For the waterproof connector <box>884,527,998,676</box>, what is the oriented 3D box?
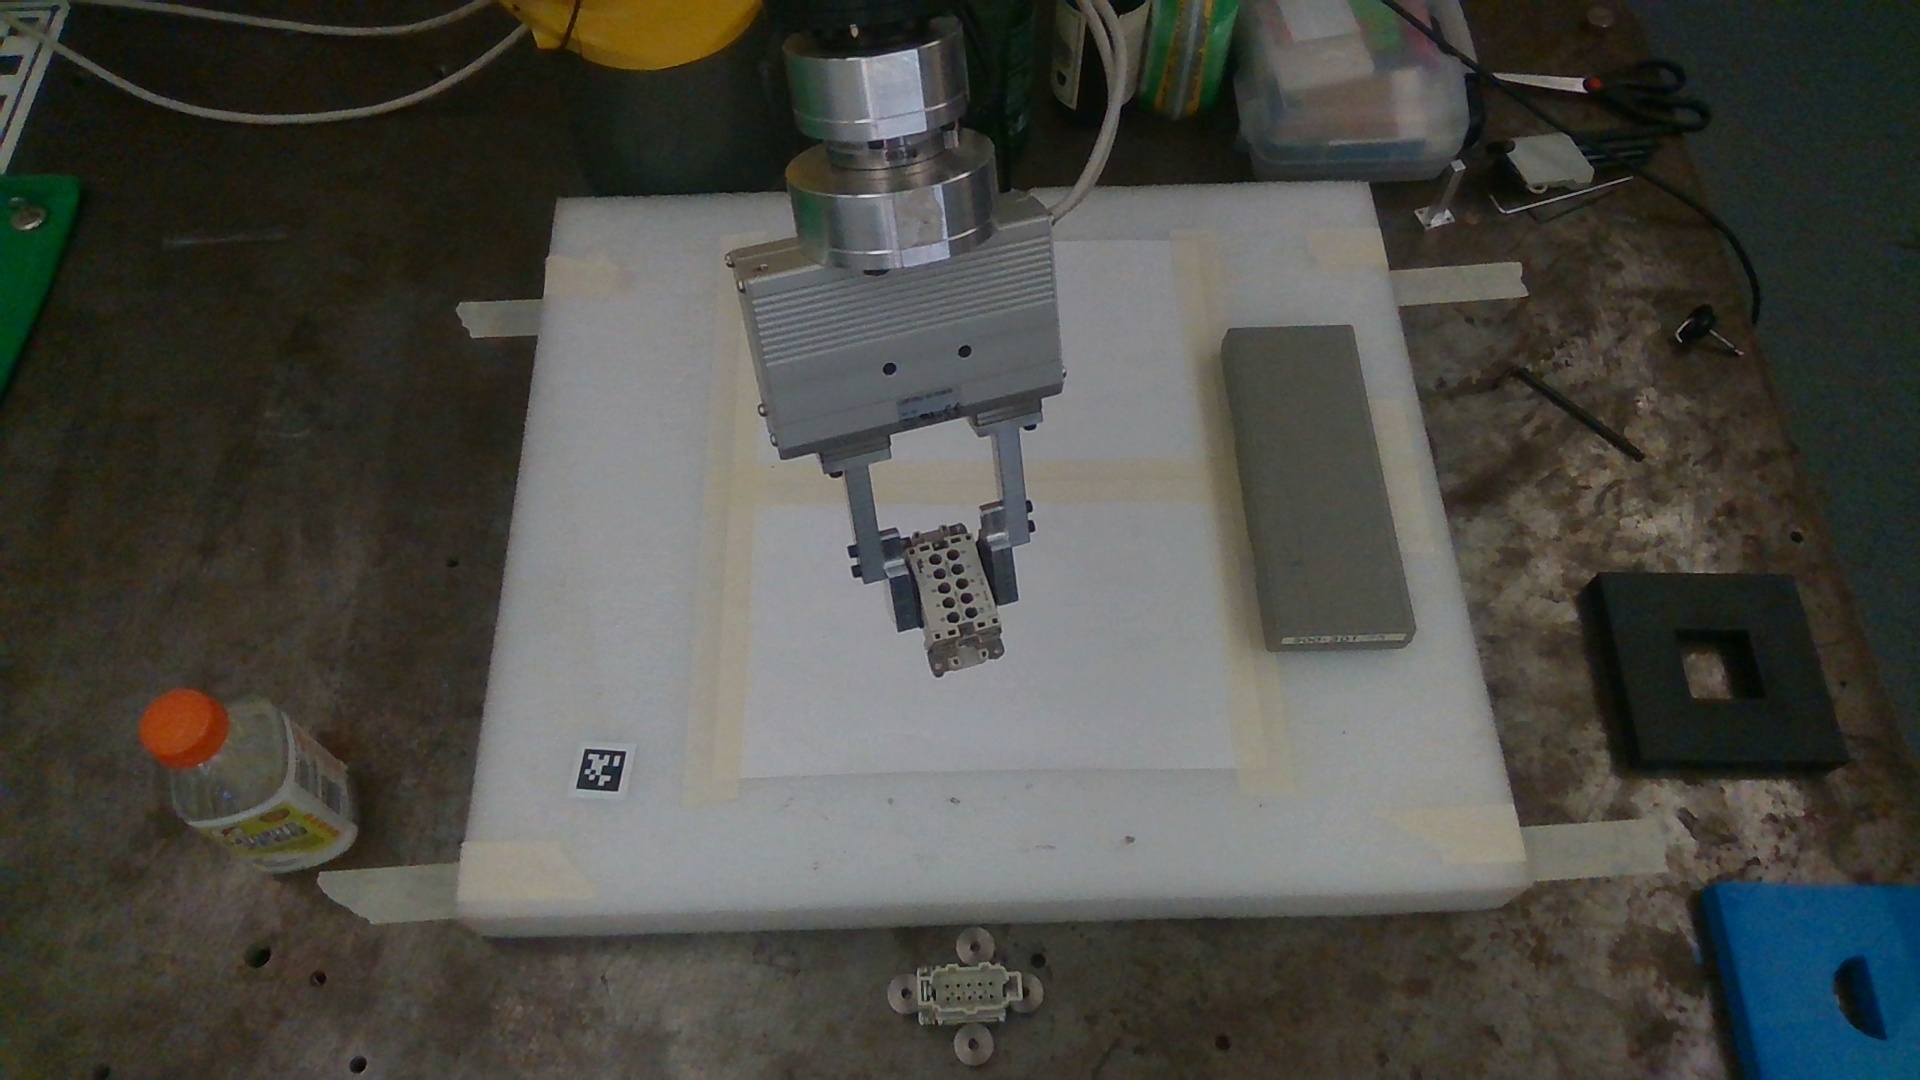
[{"bbox_3d":[-0.008,0.026,0.638,0.036,0.038,0.069,-13,65,-16],"label":"waterproof connector"}]
